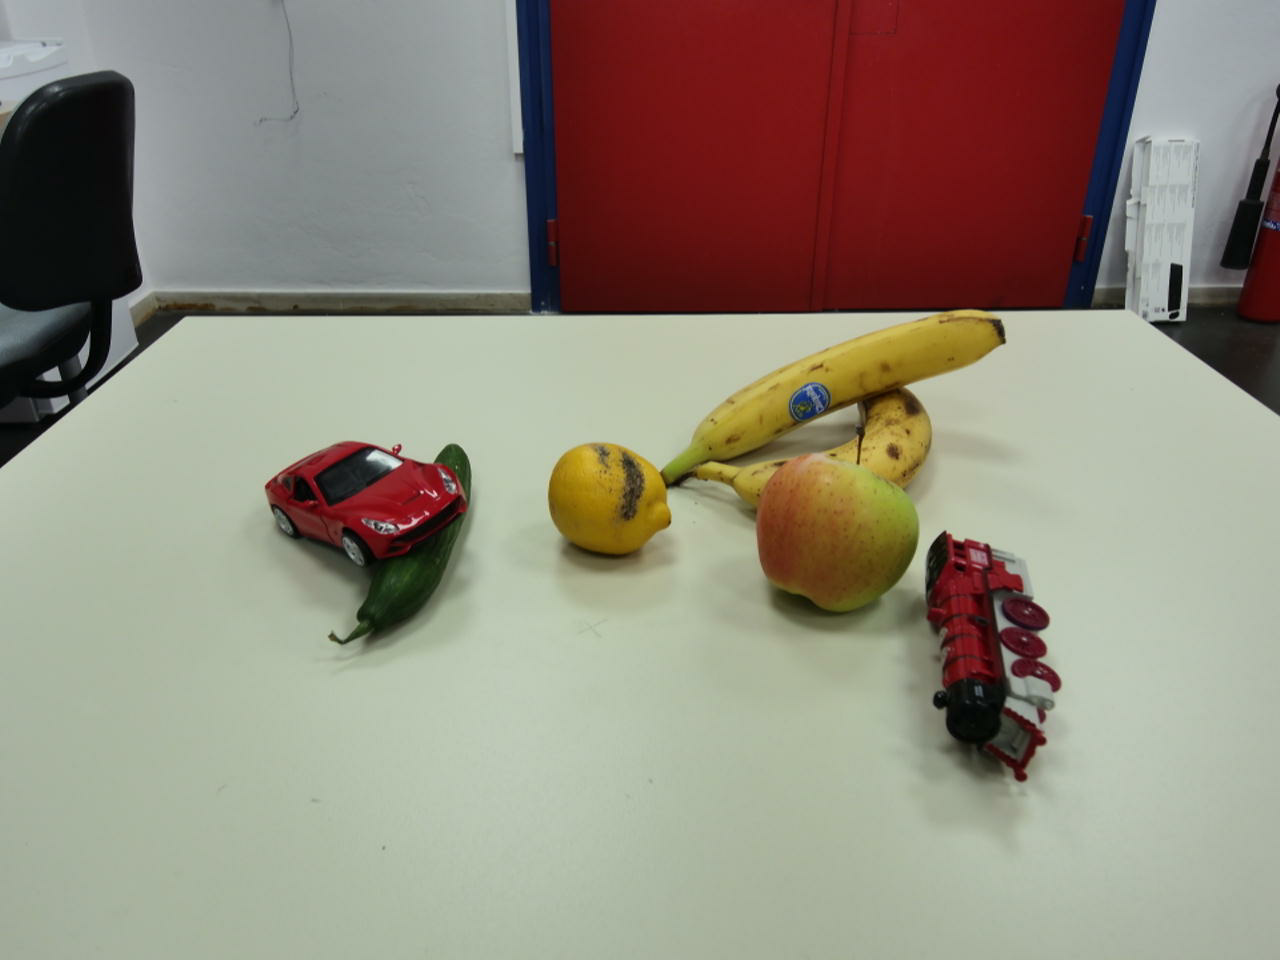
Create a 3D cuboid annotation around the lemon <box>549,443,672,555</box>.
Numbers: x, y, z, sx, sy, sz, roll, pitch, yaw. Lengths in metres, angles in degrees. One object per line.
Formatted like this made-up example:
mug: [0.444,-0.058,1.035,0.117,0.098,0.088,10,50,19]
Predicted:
lemon: [-0.017,0.009,0.515,0.061,0.056,0.058,-5,26,-7]
